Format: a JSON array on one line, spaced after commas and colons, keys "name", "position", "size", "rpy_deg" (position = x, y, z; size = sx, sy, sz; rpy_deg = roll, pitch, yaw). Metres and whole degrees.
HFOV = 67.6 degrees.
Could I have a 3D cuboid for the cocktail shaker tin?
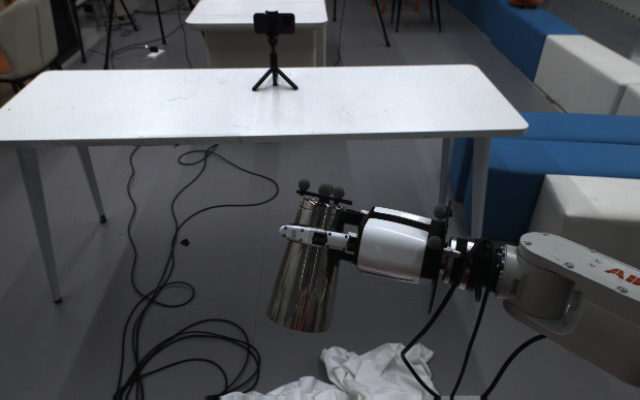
[{"name": "cocktail shaker tin", "position": [-0.011, 0.085, 0.682], "size": [0.093, 0.170, 0.093], "rpy_deg": [13, 3, -1]}]
